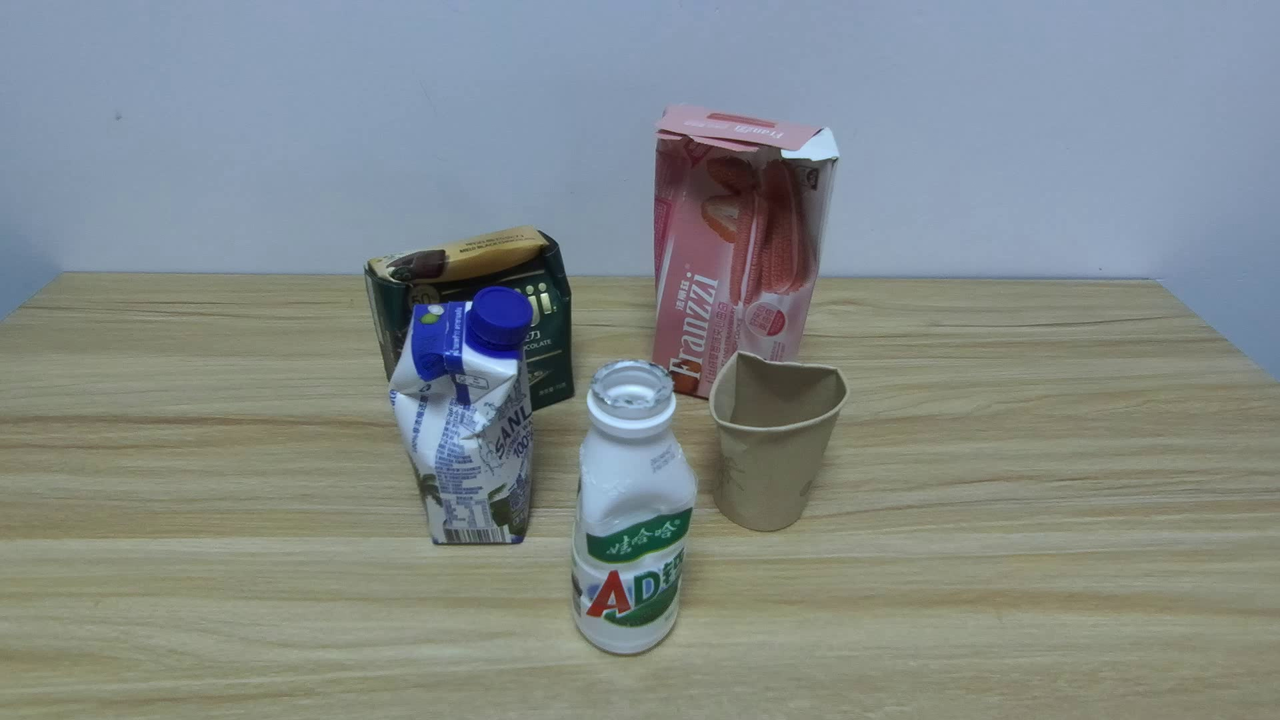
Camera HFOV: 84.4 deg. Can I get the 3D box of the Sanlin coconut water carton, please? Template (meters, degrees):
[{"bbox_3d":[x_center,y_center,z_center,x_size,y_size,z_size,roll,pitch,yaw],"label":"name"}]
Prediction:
[{"bbox_3d":[-0.087,0.030,0.361,0.070,0.144,0.060,1,37,-4],"label":"Sanlin coconut water carton"}]

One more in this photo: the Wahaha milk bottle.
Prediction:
[{"bbox_3d":[-0.004,0.067,0.312,0.055,0.149,0.055,1,33,0],"label":"Wahaha milk bottle"}]

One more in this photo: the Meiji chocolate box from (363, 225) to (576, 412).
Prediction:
[{"bbox_3d":[-0.105,-0.018,0.458,0.113,0.111,0.058,-17,29,-25],"label":"Meiji chocolate box"}]

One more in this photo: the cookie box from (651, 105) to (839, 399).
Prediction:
[{"bbox_3d":[0.056,-0.056,0.448,0.118,0.184,0.055,16,38,20],"label":"cookie box"}]

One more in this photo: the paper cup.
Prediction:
[{"bbox_3d":[0.072,0.049,0.388,0.071,0.084,0.066,8,37,11],"label":"paper cup"}]
